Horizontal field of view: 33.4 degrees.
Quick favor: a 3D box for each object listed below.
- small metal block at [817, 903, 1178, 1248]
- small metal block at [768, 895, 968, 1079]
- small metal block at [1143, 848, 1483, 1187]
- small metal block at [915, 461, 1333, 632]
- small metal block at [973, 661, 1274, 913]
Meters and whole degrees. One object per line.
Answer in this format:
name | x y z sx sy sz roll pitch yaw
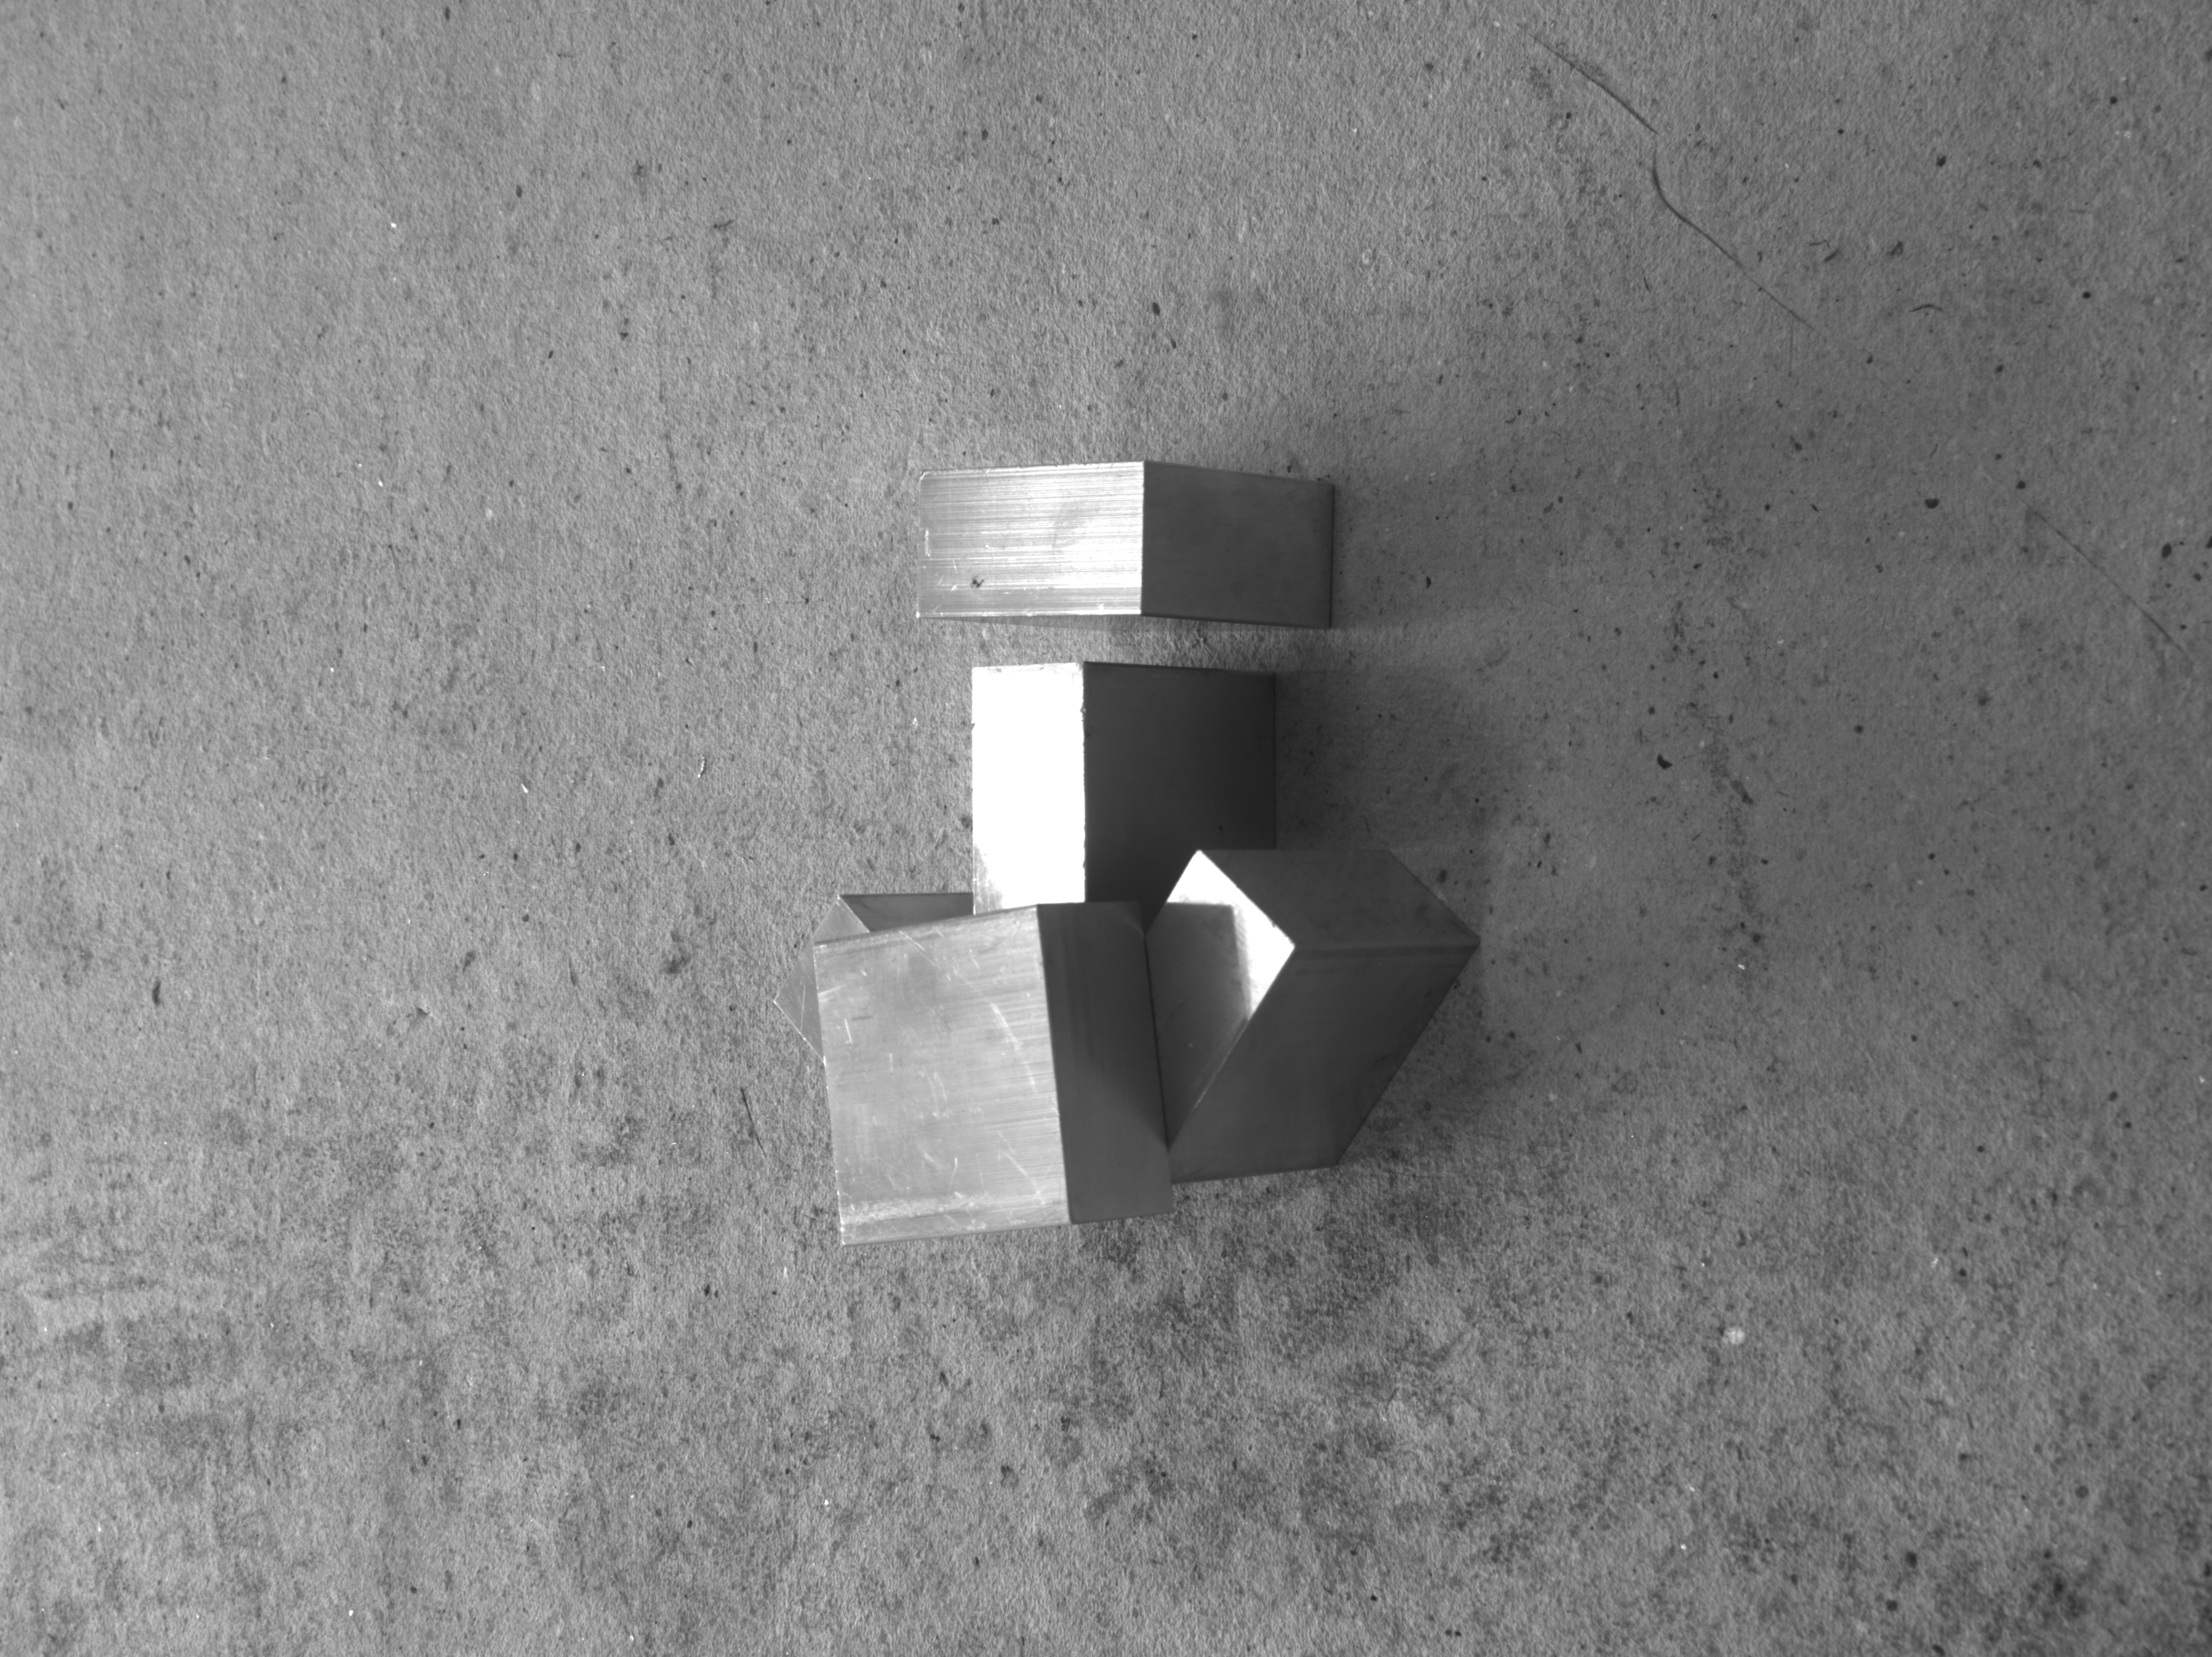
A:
small metal block | -0.018 0.040 0.596 0.050 0.025 0.050 -11 83 40
small metal block | -0.022 0.037 0.647 0.050 0.050 0.025 47 117 29
small metal block | 0.027 0.031 0.607 0.025 0.050 0.050 45 117 31
small metal block | 0.003 -0.047 0.626 0.050 0.050 0.025 2 91 40
small metal block | 0.003 -0.002 0.627 0.025 0.050 0.050 -1 89 39
